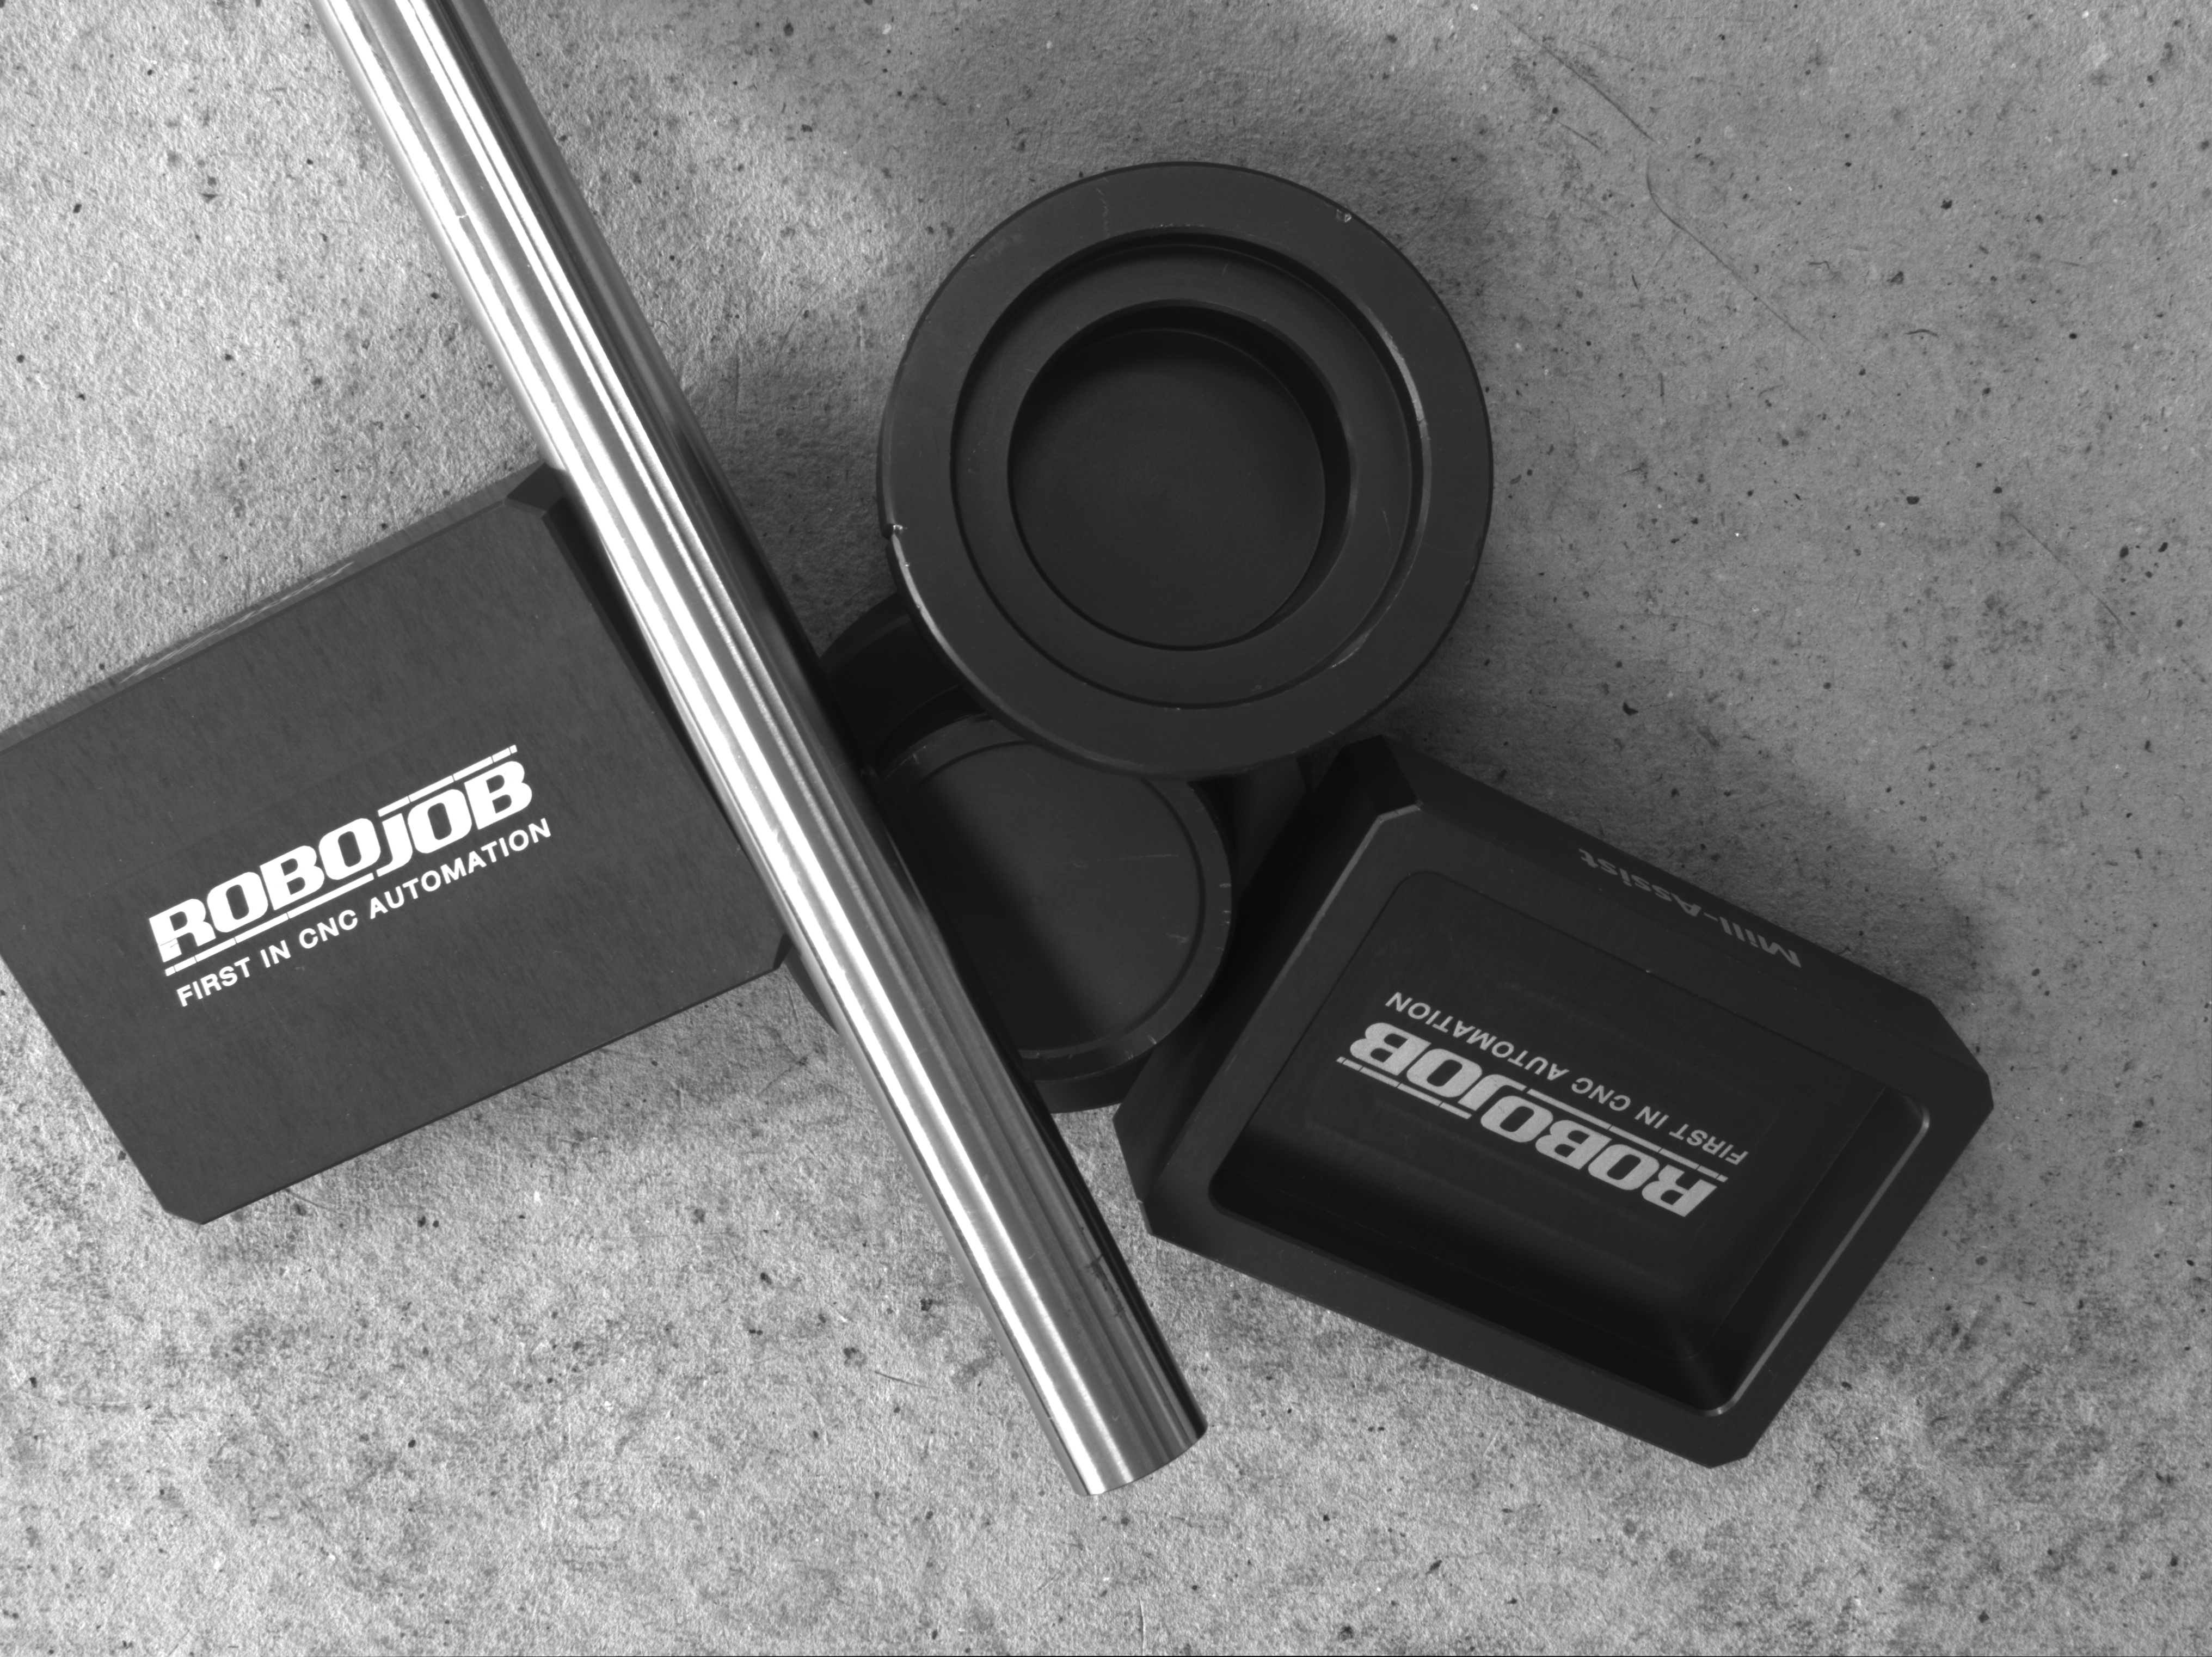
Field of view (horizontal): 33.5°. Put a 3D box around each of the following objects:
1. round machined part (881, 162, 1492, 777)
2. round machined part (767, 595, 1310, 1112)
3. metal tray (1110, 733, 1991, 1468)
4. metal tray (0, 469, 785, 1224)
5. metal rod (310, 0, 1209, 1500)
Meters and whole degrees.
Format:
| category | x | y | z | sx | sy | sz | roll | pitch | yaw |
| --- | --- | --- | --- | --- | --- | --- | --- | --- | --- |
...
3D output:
| category | x | y | z | sx | sy | sz | roll | pitch | yaw |
| --- | --- | --- | --- | --- | --- | --- | --- | --- | --- |
| round machined part | 0.011 | -0.057 | 0.603 | 0.098 | 0.042 | 0.098 | 0 | 88 | -6 |
| round machined part | -0.012 | 0.005 | 0.638 | 0.098 | 0.042 | 0.098 | 0 | 110 | 0 |
| metal tray | 0.078 | 0.050 | 0.648 | 0.130 | 0.030 | 0.090 | 25 | 108 | -20 |
| metal tray | -0.126 | 0.003 | 0.631 | 0.130 | 0.030 | 0.090 | -24 | 106 | 17 |
| metal rod | -0.061 | -0.028 | 0.598 | 0.025 | 0.025 | 0.300 | -26 | 95 | 9 |
